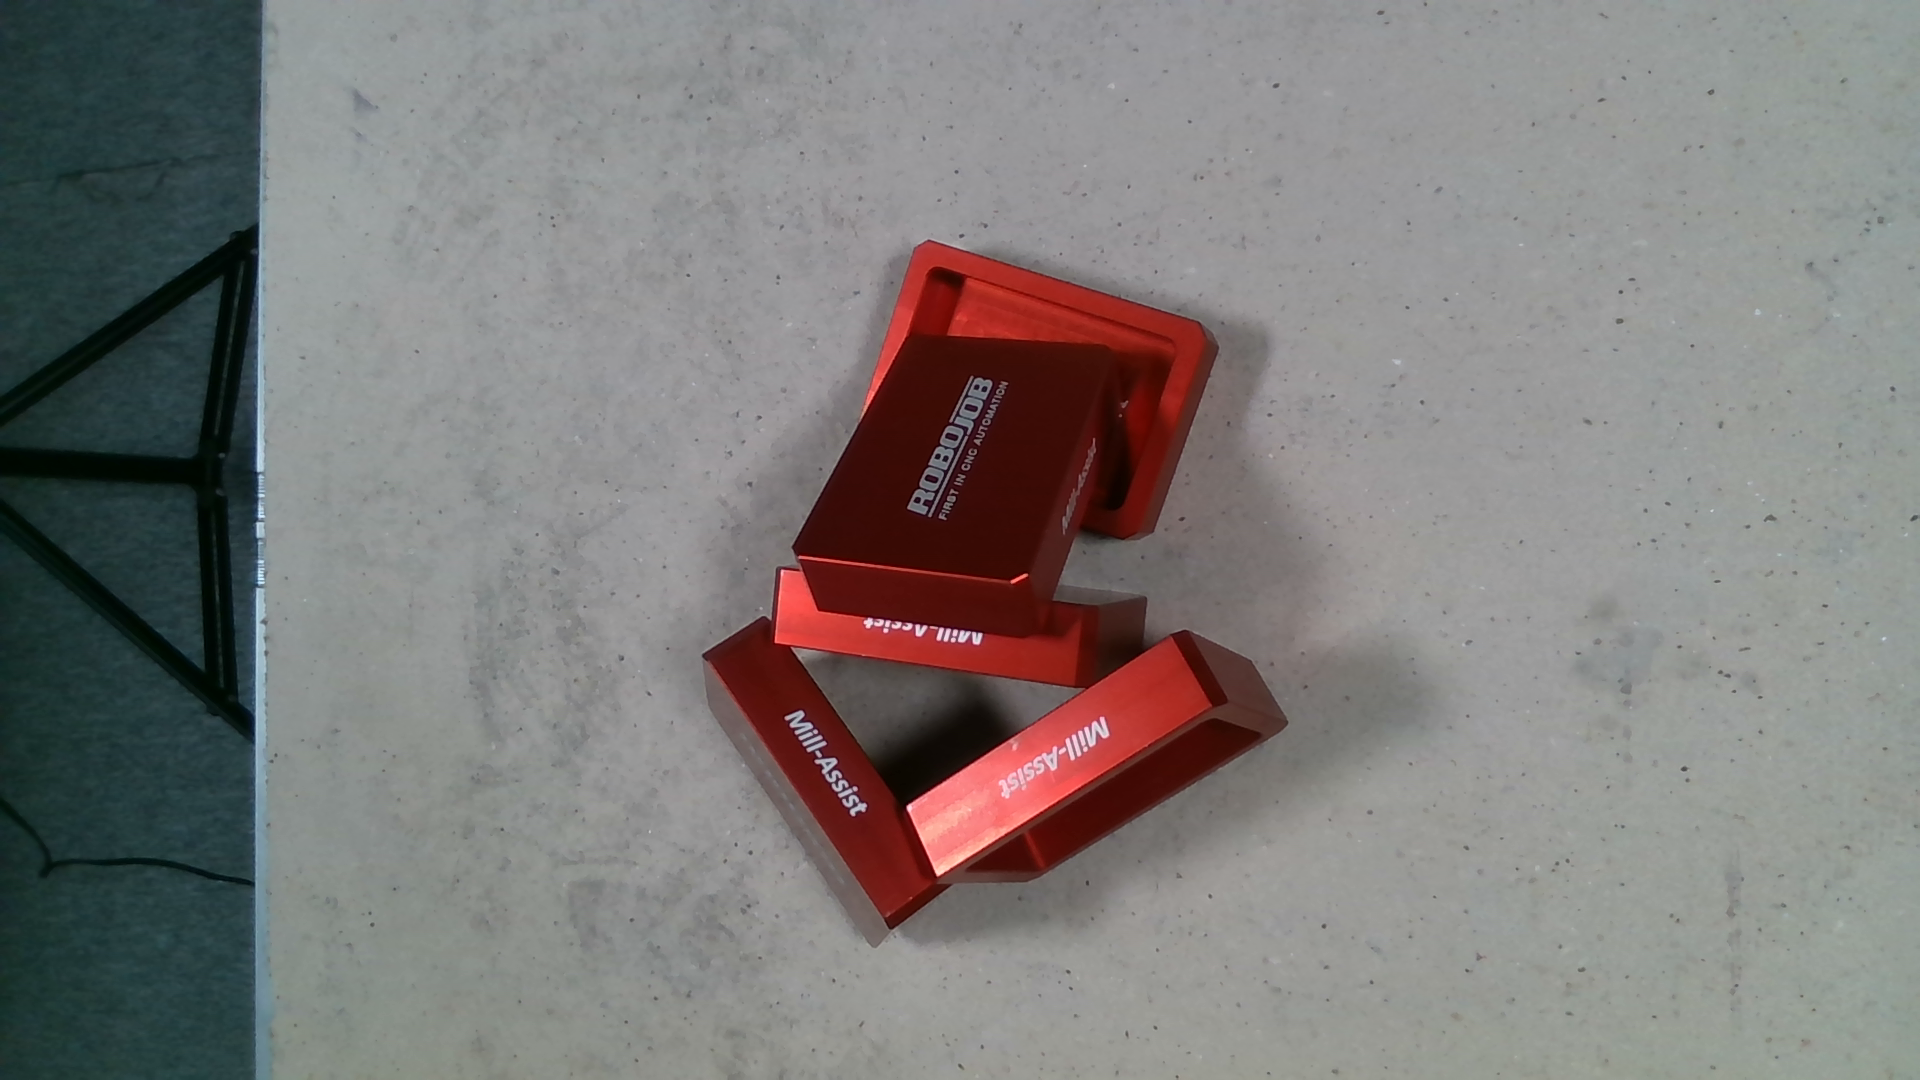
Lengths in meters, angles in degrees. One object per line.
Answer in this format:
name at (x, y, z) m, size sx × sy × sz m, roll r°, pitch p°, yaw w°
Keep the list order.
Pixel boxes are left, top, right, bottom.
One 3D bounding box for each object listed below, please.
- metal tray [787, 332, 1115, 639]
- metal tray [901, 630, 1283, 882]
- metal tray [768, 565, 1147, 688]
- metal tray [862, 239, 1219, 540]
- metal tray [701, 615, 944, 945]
metal tray at (0.001, -0.026, 0.525) m, size 0.090 × 0.030 × 0.130 m, roll 7°, pitch 48°, yaw 20°
metal tray at (0.053, 0.087, 0.530) m, size 0.130 × 0.090 × 0.030 m, roll -35°, pitch 64°, yaw 17°
metal tray at (0.001, 0.031, 0.551) m, size 0.130 × 0.090 × 0.030 m, roll 7°, pitch 92°, yaw 21°
metal tray at (0.030, -0.063, 0.571) m, size 0.130 × 0.030 × 0.090 m, roll 21°, pitch 98°, yaw 19°
metal tray at (-0.059, 0.103, 0.574) m, size 0.030 × 0.090 × 0.130 m, roll -33°, pitch 77°, yaw -18°
